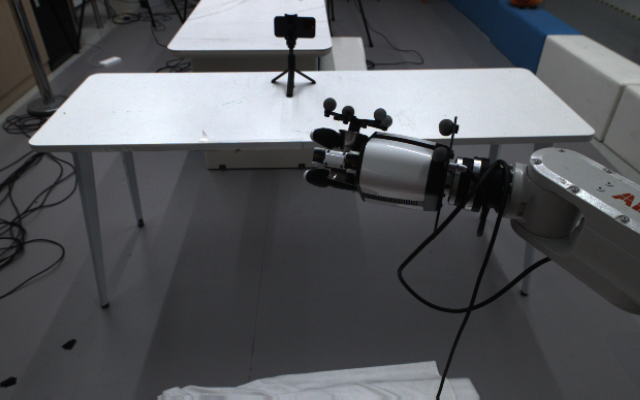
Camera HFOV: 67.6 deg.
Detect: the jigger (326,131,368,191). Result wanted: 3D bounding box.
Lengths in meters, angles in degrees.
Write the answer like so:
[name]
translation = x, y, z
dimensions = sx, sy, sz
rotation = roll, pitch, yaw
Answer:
[jigger]
translation = 0.039, -0.057, 0.652
dimensions = 0.043, 0.071, 0.043
rotation = 14, 1, 0
